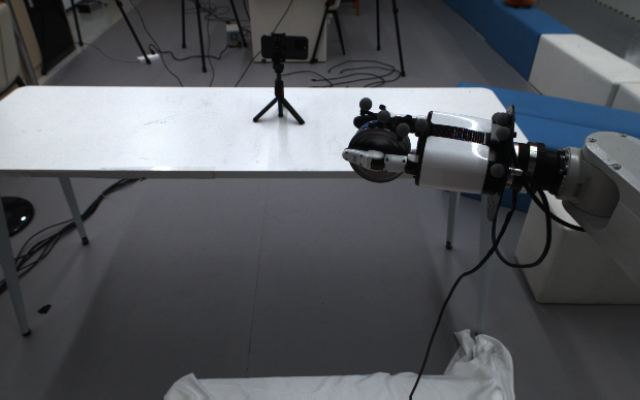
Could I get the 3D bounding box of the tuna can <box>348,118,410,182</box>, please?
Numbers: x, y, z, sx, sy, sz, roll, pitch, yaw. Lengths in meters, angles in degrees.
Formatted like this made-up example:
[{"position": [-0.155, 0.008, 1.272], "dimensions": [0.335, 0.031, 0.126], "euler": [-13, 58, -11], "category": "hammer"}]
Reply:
[{"position": [0.086, -0.070, 0.686], "dimensions": [0.085, 0.085, 0.034], "euler": [12, 33, 14], "category": "tuna can"}]
